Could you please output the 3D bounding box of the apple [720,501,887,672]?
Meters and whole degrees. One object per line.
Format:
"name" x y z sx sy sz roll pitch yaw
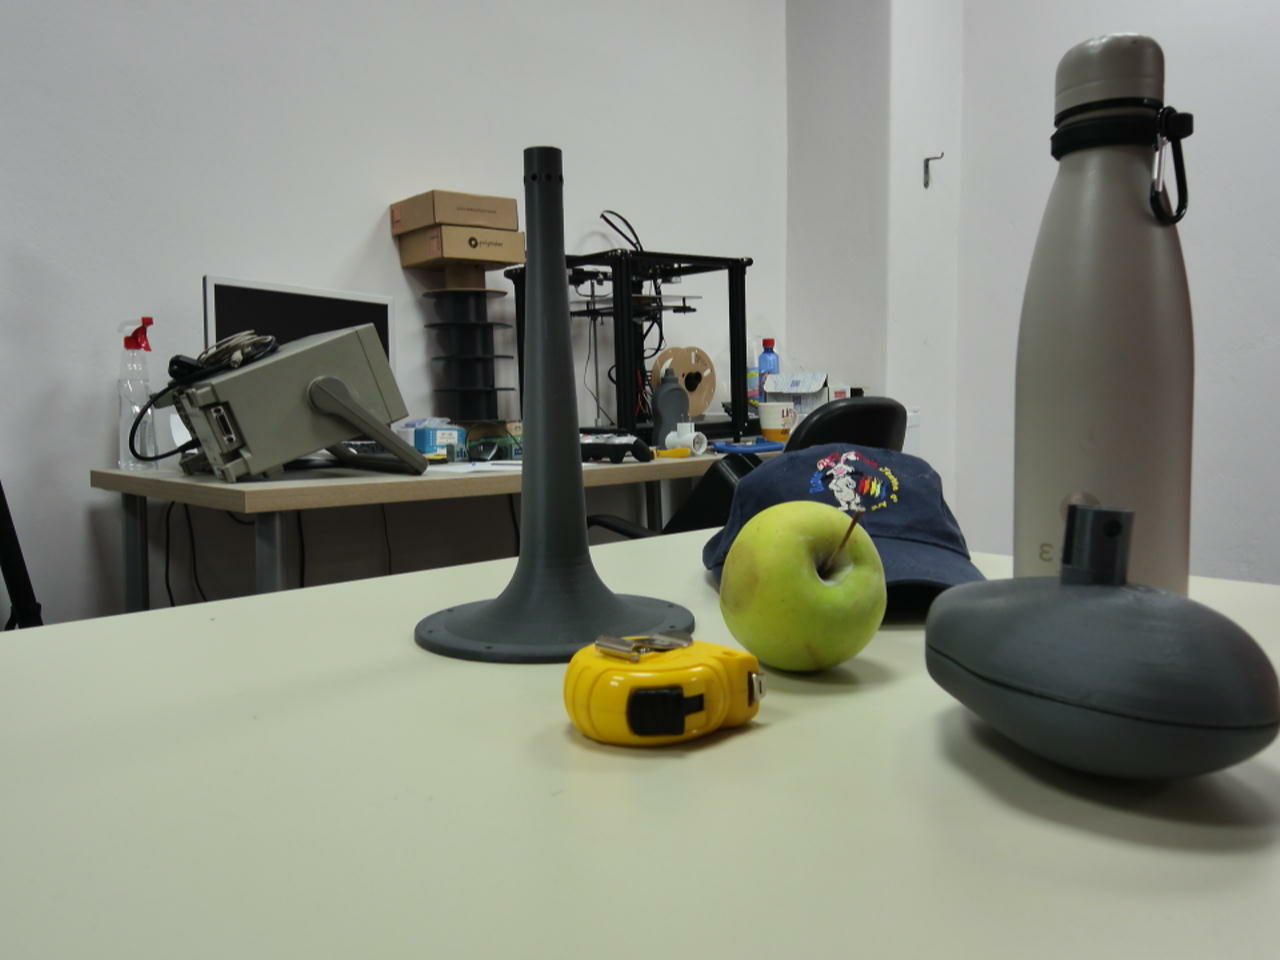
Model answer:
"apple" 0.073 0.048 0.454 0.072 0.075 0.077 0 3 3
